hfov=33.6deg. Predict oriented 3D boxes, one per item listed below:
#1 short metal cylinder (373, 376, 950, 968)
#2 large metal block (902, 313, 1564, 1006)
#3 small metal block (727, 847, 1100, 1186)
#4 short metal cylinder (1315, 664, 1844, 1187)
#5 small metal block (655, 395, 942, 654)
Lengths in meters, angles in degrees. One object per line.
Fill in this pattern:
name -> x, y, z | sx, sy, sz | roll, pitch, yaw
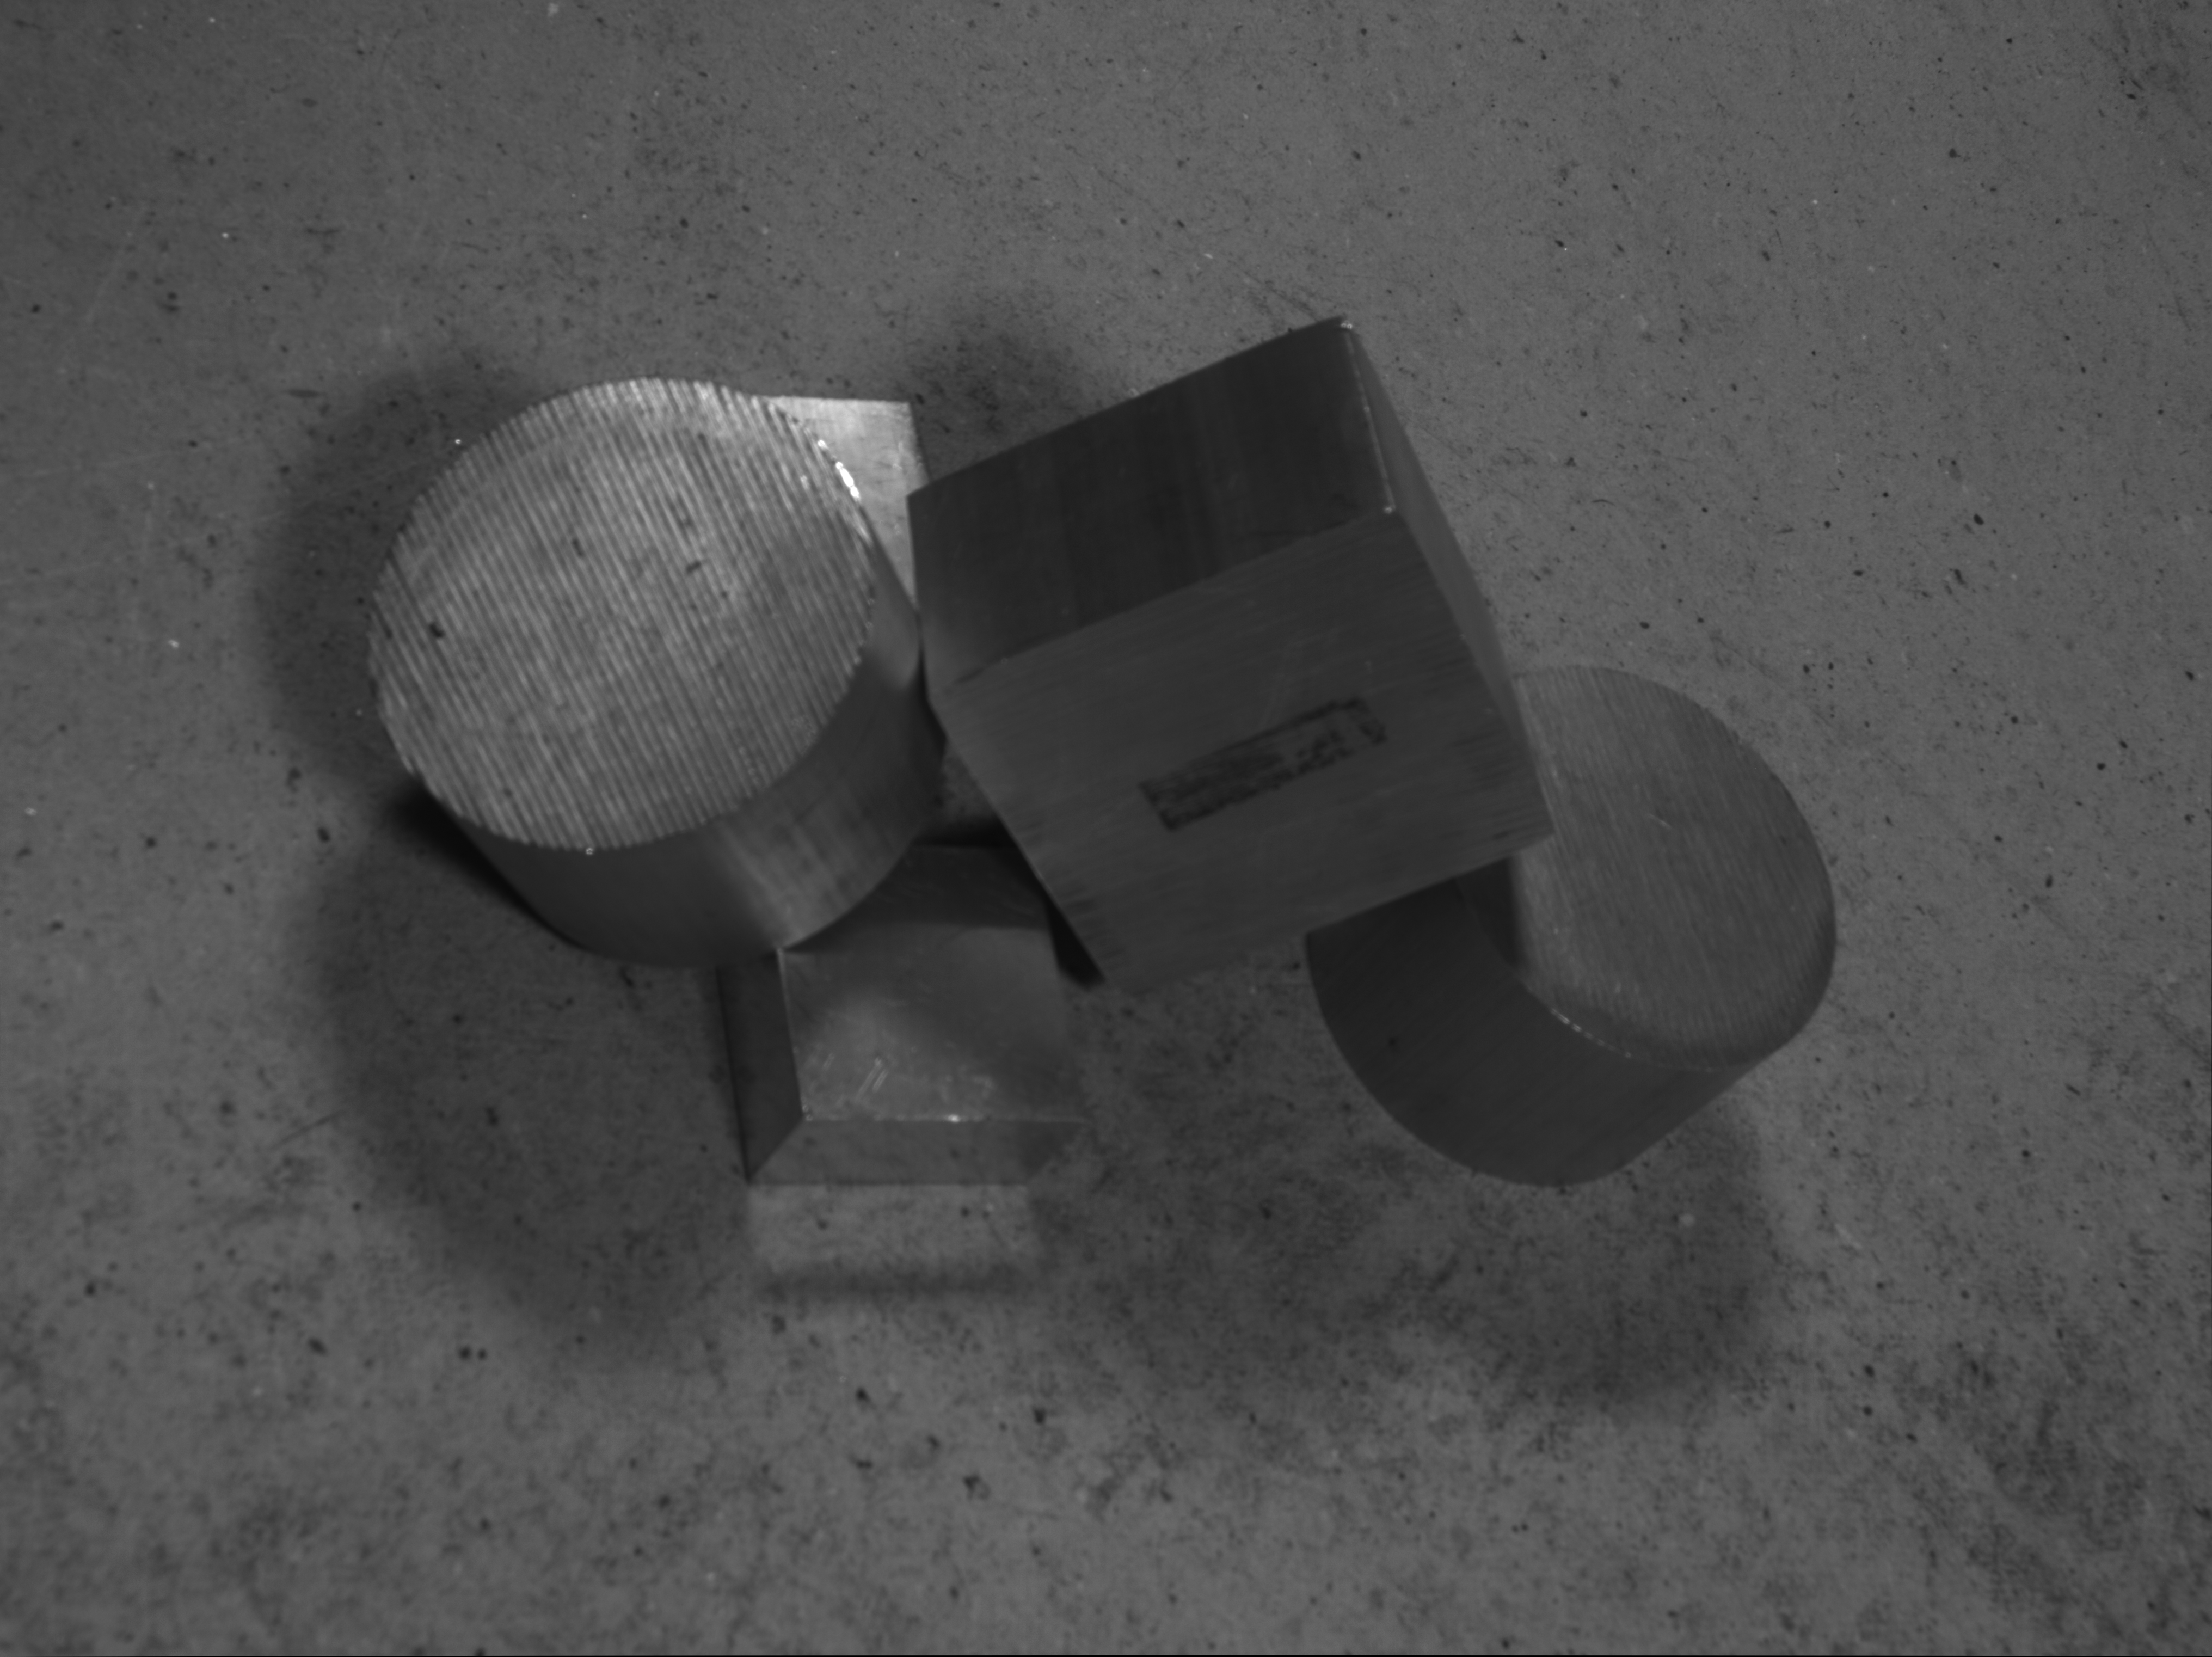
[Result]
short metal cylinder -> -0.069, -0.024, 0.579 | 0.080, 0.050, 0.080 | -4, 67, 9
large metal block -> 0.021, -0.026, 0.608 | 0.050, 0.080, 0.080 | -99, 164, -46
small metal block -> -0.033, 0.031, 0.603 | 0.050, 0.025, 0.050 | 3, 60, -27
short metal cylinder -> 0.085, 0.018, 0.659 | 0.080, 0.050, 0.080 | 14, 56, -21
small metal block -> -0.054, -0.048, 0.640 | 0.050, 0.025, 0.050 | -1, 62, -29
